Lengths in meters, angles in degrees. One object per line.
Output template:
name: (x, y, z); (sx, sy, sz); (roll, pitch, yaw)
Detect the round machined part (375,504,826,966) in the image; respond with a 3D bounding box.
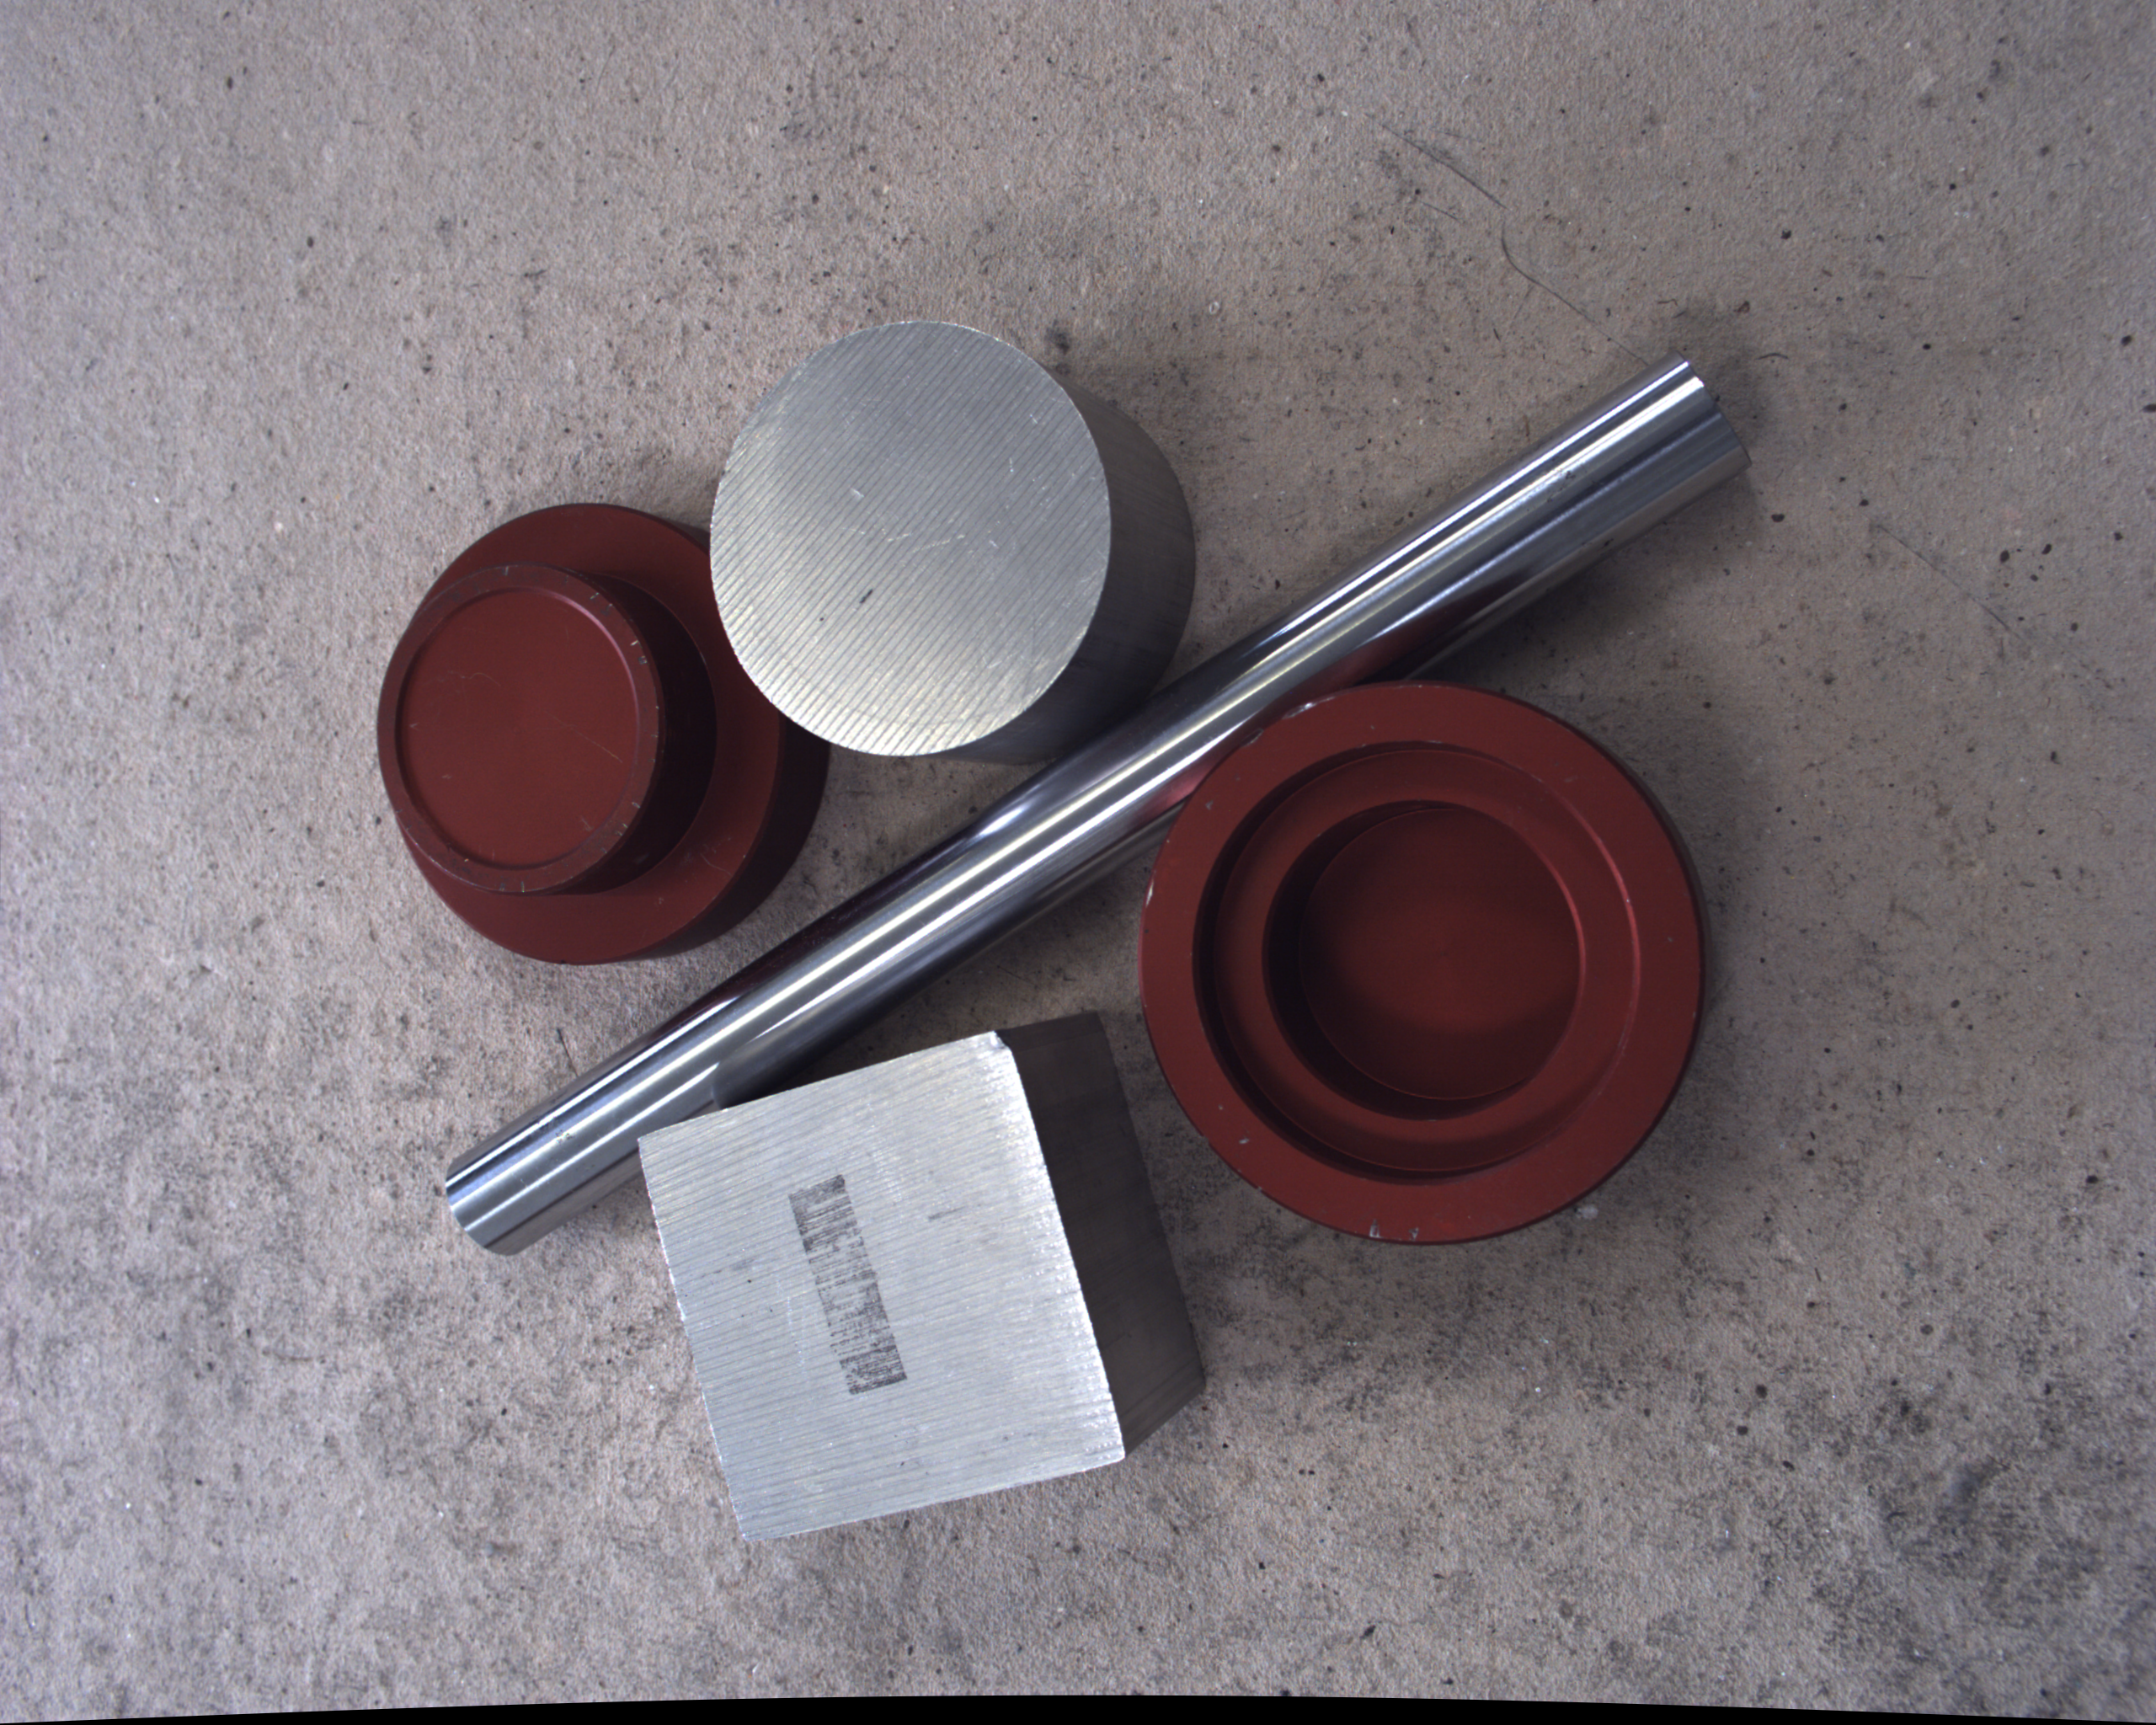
round machined part: (-0.106, -0.027, 0.438); (0.098, 0.042, 0.097); (0, 90, 20)

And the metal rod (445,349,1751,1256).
metal rod: (-0.008, -0.003, 0.414); (0.300, 0.025, 0.025); (-33, 80, 16)

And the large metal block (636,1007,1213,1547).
large metal block: (-0.029, 0.079, 0.408); (0.080, 0.050, 0.080); (-18, 84, 19)

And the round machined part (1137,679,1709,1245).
round machined part: (0.064, 0.017, 0.378); (0.098, 0.042, 0.097); (0, 90, 20)

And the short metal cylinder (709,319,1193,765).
short metal cylinder: (-0.023, -0.060, 0.405); (0.080, 0.050, 0.079); (0, 90, 20)
